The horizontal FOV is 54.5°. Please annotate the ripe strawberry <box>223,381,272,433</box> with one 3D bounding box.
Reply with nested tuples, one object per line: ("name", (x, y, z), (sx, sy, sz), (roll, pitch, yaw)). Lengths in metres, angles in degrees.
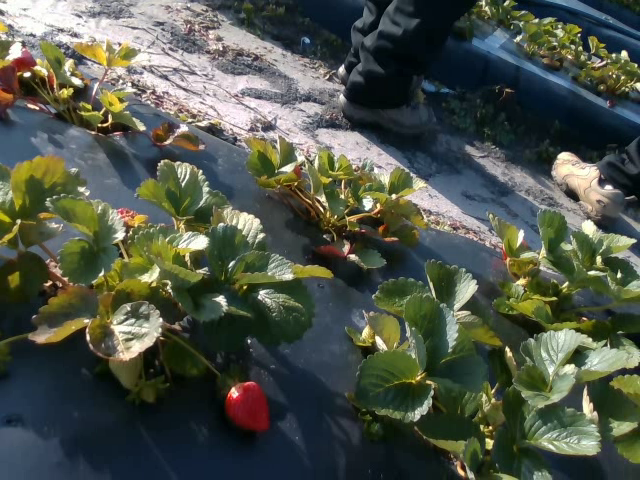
("ripe strawberry", (-0.045, 0.114, 0.410), (0.030, 0.044, 0.033), (-34, -36, -10))
